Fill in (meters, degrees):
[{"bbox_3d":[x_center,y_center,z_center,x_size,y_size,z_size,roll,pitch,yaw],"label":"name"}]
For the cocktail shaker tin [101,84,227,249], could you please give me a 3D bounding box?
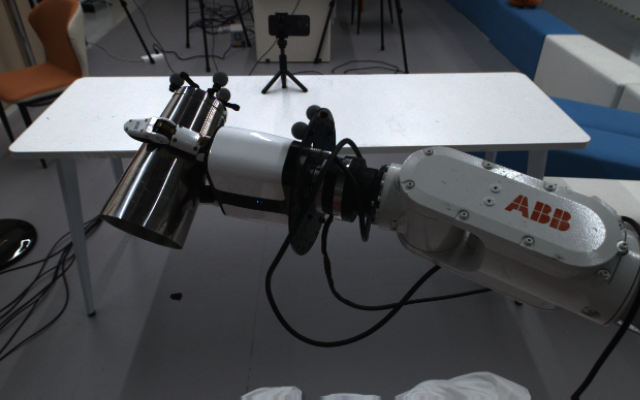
[{"bbox_3d":[-0.167,-0.040,0.549,0.093,0.093,0.170,13,70,15],"label":"cocktail shaker tin"}]
